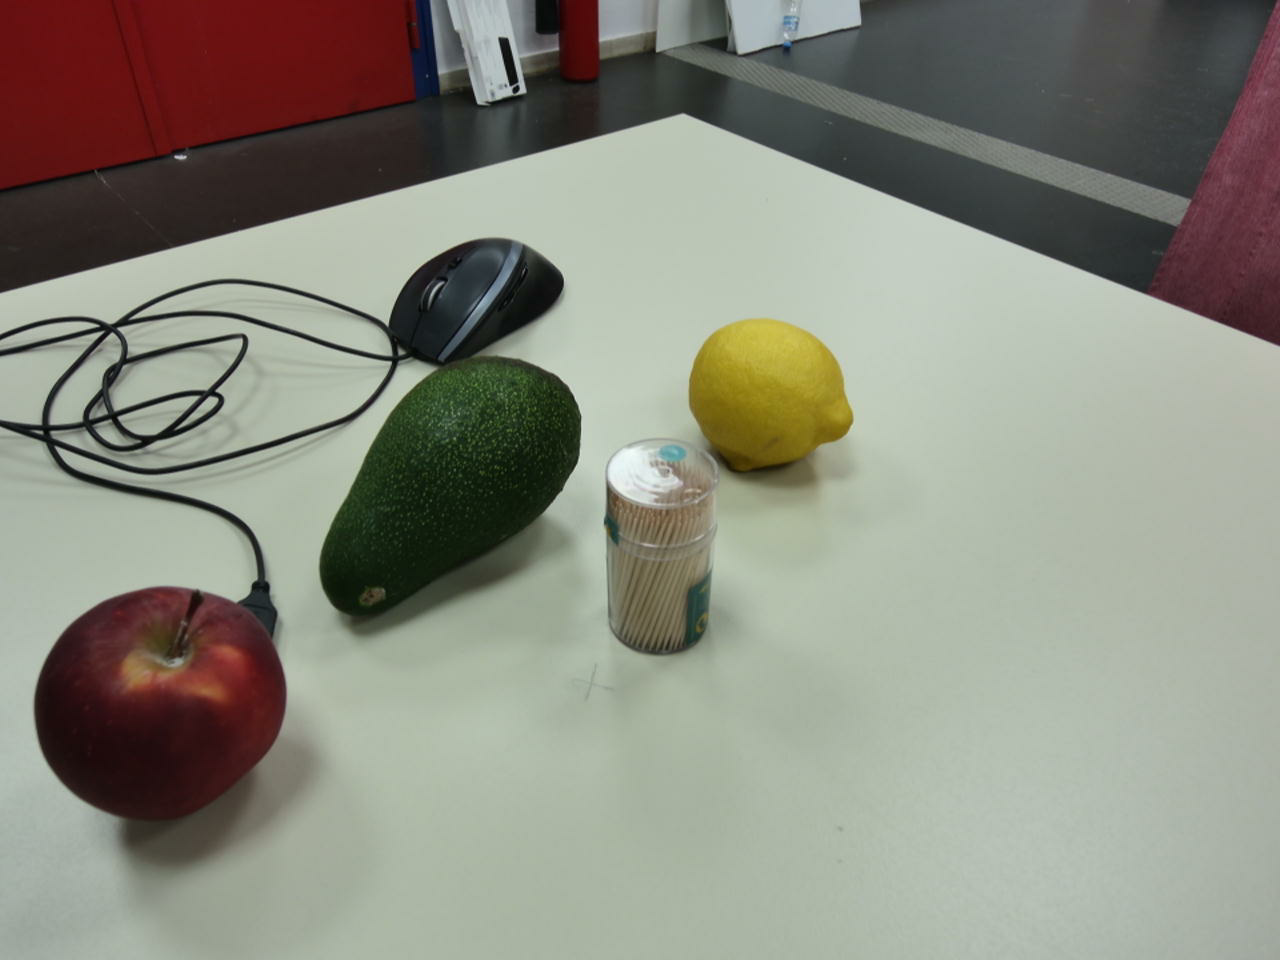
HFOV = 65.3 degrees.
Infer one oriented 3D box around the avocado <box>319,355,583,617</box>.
[{"bbox_3d":[-0.079,-0.006,0.403,0.123,0.076,0.074,-21,42,-27],"label":"avocado"}]
